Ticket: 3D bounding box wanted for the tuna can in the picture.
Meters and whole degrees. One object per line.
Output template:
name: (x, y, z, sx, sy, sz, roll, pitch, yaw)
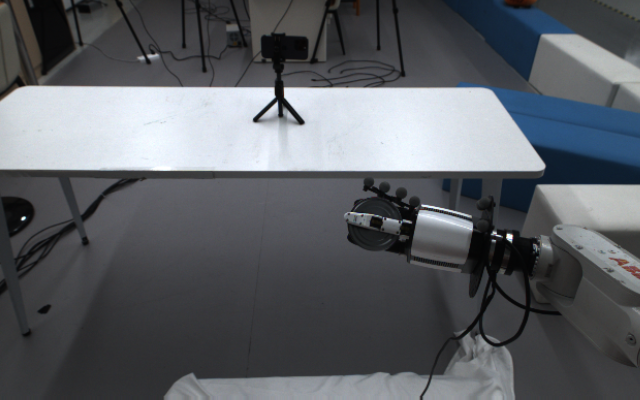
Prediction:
tuna can: (0.091, 0.039, 0.768, 0.085, 0.085, 0.034, 13, -6, 16)
